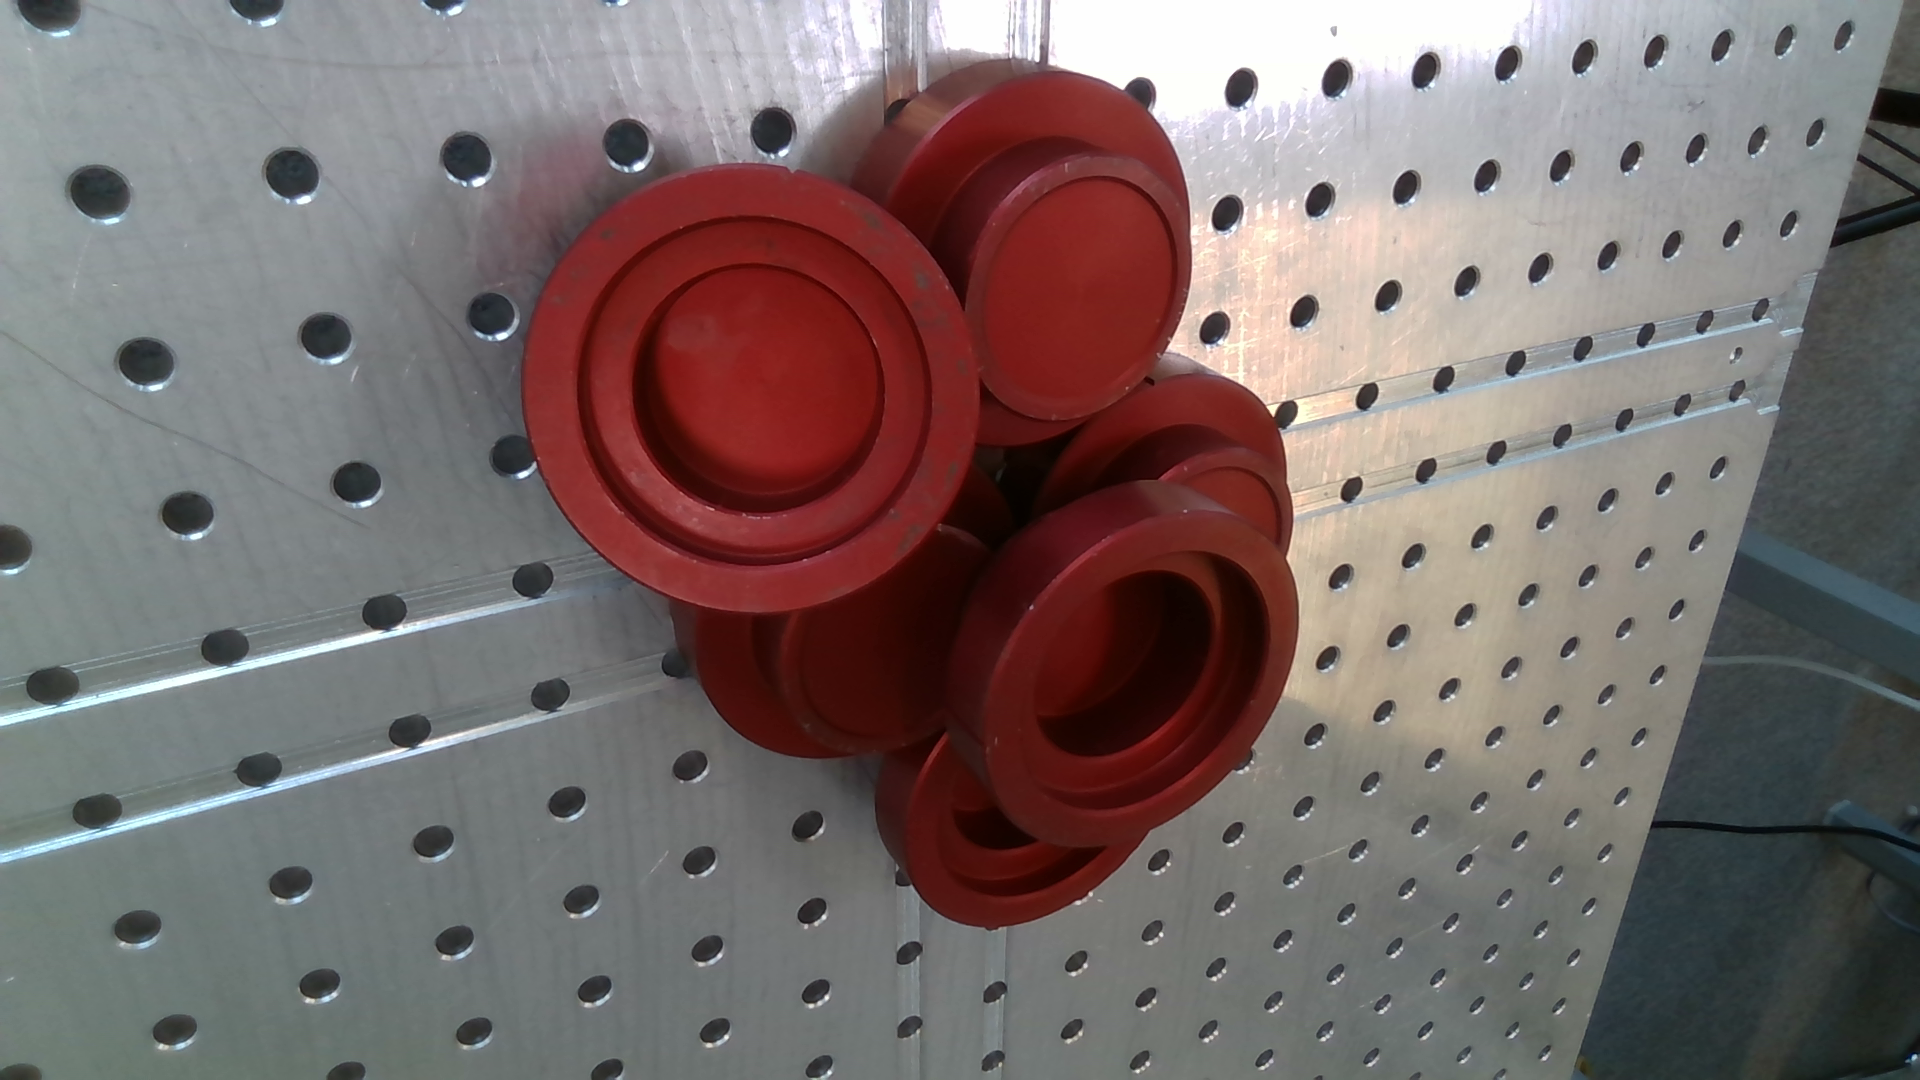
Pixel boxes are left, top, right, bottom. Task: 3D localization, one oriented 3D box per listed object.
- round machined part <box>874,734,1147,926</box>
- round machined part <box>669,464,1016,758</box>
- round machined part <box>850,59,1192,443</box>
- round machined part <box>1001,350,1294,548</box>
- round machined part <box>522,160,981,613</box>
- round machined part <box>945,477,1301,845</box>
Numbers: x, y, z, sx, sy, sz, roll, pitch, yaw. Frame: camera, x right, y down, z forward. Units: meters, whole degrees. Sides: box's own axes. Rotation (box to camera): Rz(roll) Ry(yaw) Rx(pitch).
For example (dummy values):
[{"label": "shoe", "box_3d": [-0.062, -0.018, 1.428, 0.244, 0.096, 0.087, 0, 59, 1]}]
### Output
[{"label": "round machined part", "box_3d": [0.017, 0.067, 0.427, 0.098, 0.042, 0.098, -14, 122, -25]}, {"label": "round machined part", "box_3d": [-0.025, 0.018, 0.375, 0.098, 0.042, 0.098, -14, 122, -25]}, {"label": "round machined part", "box_3d": [0.020, -0.070, 0.355, 0.098, 0.042, 0.098, -14, 122, -25]}, {"label": "round machined part", "box_3d": [0.061, -0.005, 0.416, 0.098, 0.042, 0.098, -14, 122, -25]}, {"label": "round machined part", "box_3d": [-0.046, -0.036, 0.316, 0.098, 0.042, 0.098, -1, 105, -5]}, {"label": "round machined part", "box_3d": [0.039, 0.028, 0.365, 0.098, 0.042, 0.098, -14, 122, -25]}]
